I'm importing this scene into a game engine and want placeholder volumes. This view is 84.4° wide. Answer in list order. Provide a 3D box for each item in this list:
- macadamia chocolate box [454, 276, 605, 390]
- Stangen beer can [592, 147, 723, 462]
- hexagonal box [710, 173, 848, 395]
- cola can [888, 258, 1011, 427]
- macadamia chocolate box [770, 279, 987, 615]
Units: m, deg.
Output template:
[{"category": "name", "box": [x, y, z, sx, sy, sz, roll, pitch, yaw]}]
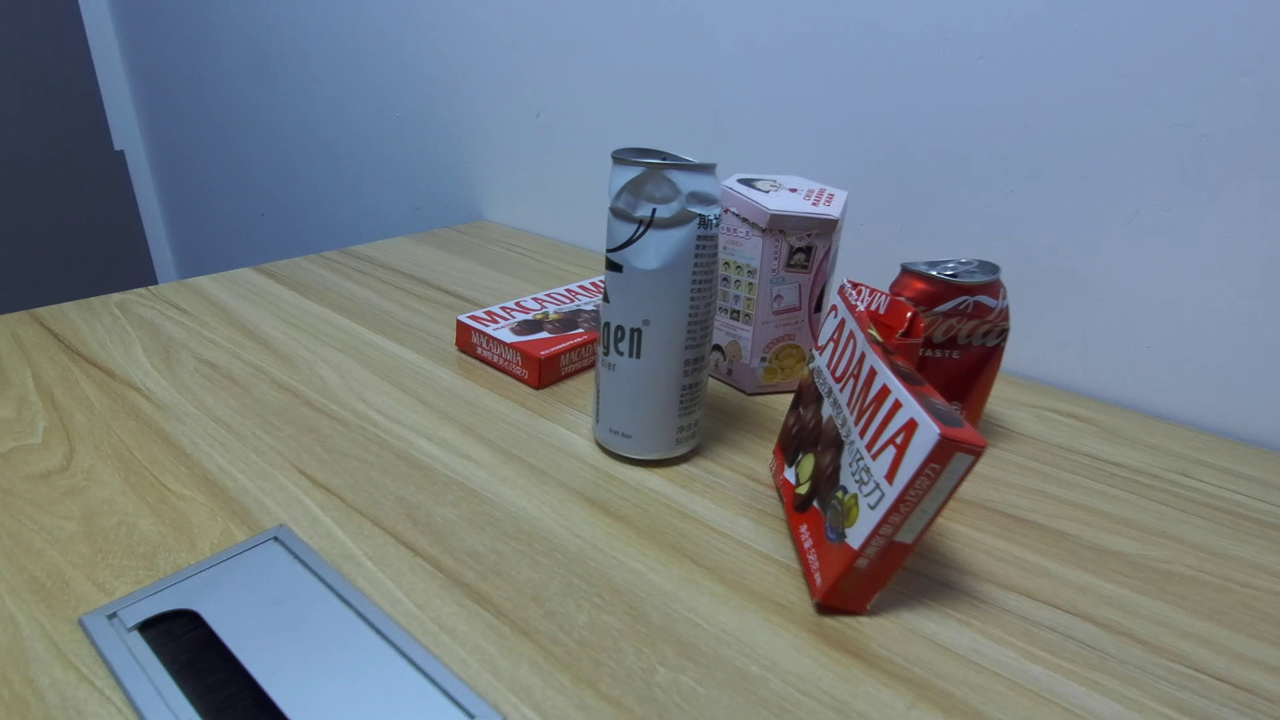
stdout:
[{"category": "macadamia chocolate box", "box": [-0.038, -0.032, 0.554, 0.102, 0.027, 0.187, 25, 34, 36]}, {"category": "Stangen beer can", "box": [0.009, -0.027, 0.389, 0.066, 0.166, 0.066, 6, 24, 6]}, {"category": "hexagonal box", "box": [0.089, -0.053, 0.488, 0.085, 0.135, 0.092, 12, 26, 17]}, {"category": "cola can", "box": [0.177, -0.004, 0.422, 0.069, 0.112, 0.065, 10, 26, 14]}, {"category": "macadamia chocolate box", "box": [0.106, 0.036, 0.334, 0.056, 0.112, 0.126, 4, 26, 1]}]
